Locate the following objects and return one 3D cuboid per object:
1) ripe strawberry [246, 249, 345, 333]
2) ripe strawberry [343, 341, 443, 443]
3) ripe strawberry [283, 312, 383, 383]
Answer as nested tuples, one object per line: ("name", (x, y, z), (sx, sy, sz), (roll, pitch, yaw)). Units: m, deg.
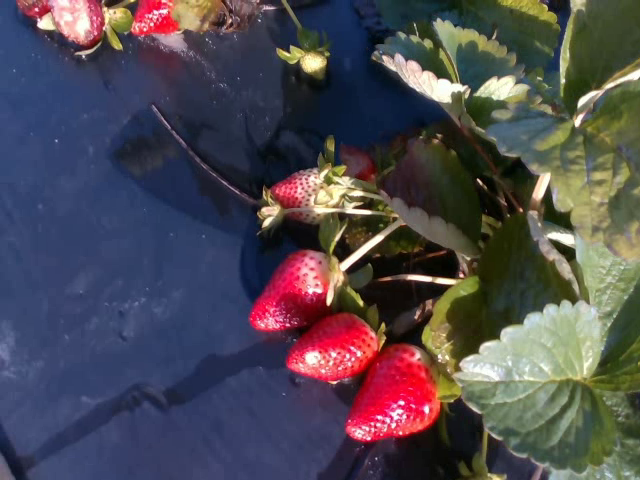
("ripe strawberry", (-0.012, 0.022, 0.250), (0.045, 0.032, 0.023), (-38, -21, -4))
("ripe strawberry", (0.022, 0.063, 0.227), (0.041, 0.035, 0.034), (-25, -28, -38))
("ripe strawberry", (0.003, 0.041, 0.233), (0.039, 0.031, 0.036), (-7, -28, -46))
